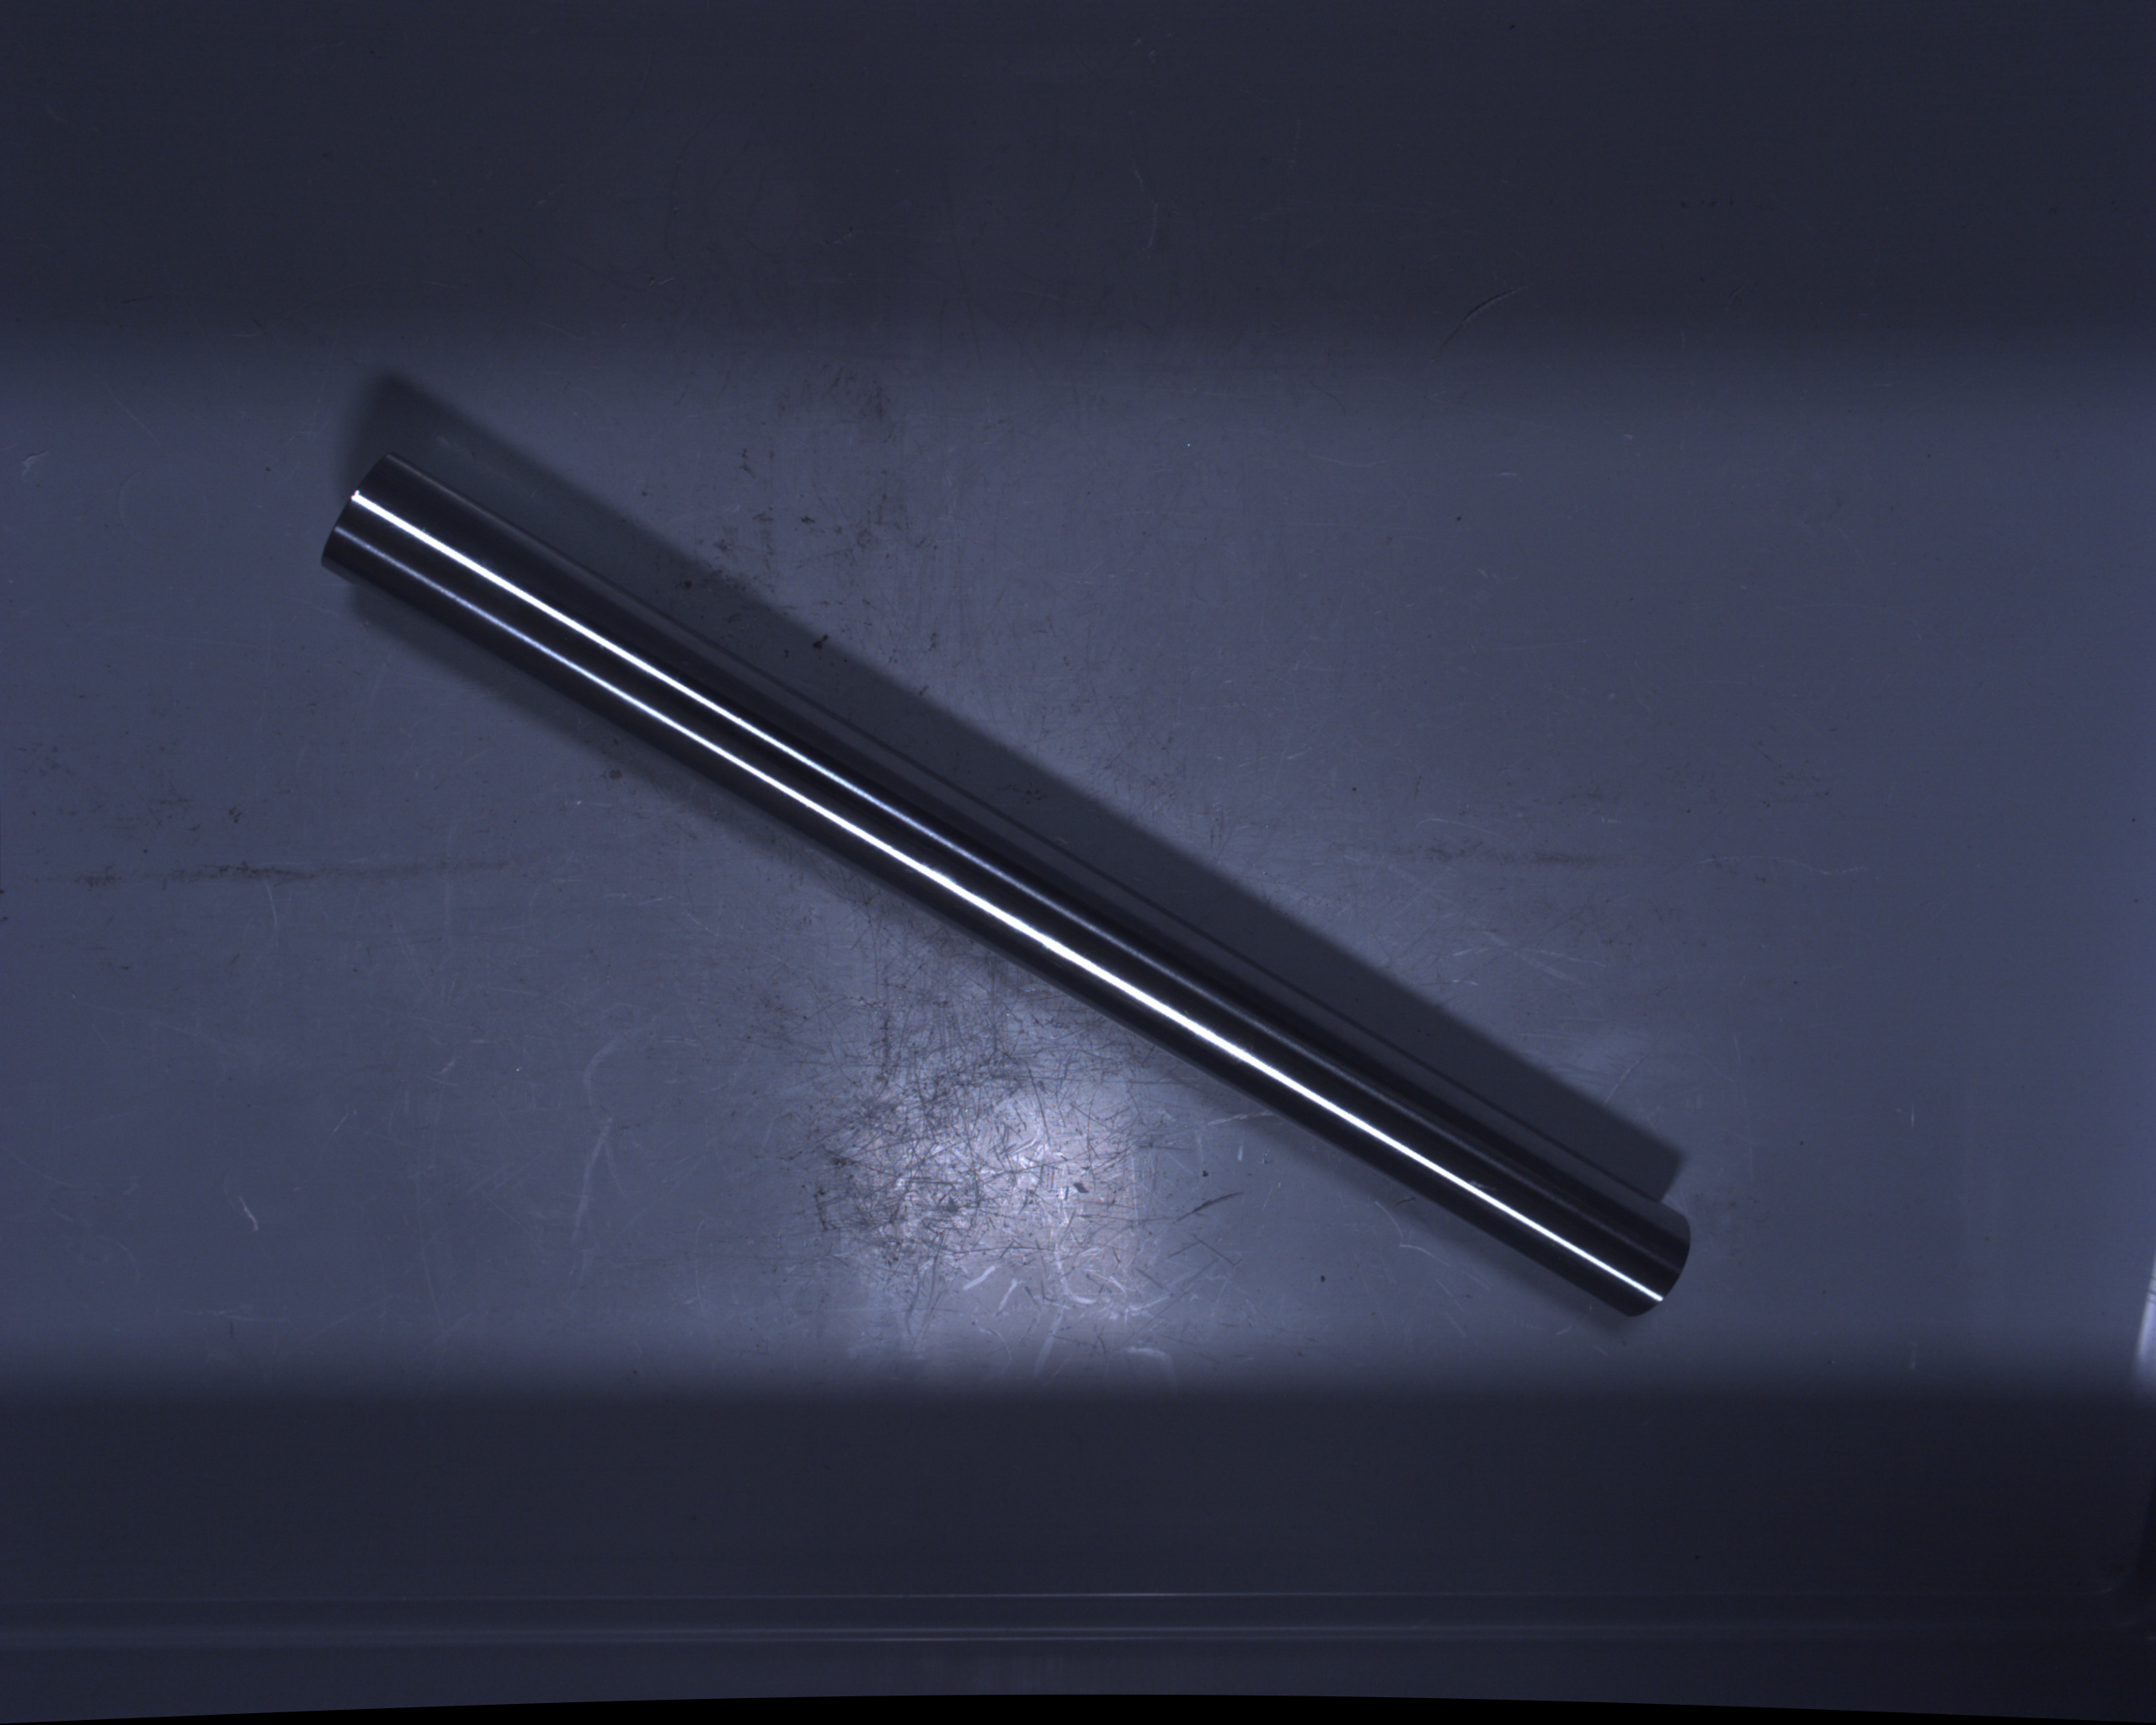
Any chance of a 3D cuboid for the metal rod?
[{"bbox_3d":[-0.005,0.010,0.413,0.301,0.025,0.025,31,107,-11],"label":"metal rod"}]
